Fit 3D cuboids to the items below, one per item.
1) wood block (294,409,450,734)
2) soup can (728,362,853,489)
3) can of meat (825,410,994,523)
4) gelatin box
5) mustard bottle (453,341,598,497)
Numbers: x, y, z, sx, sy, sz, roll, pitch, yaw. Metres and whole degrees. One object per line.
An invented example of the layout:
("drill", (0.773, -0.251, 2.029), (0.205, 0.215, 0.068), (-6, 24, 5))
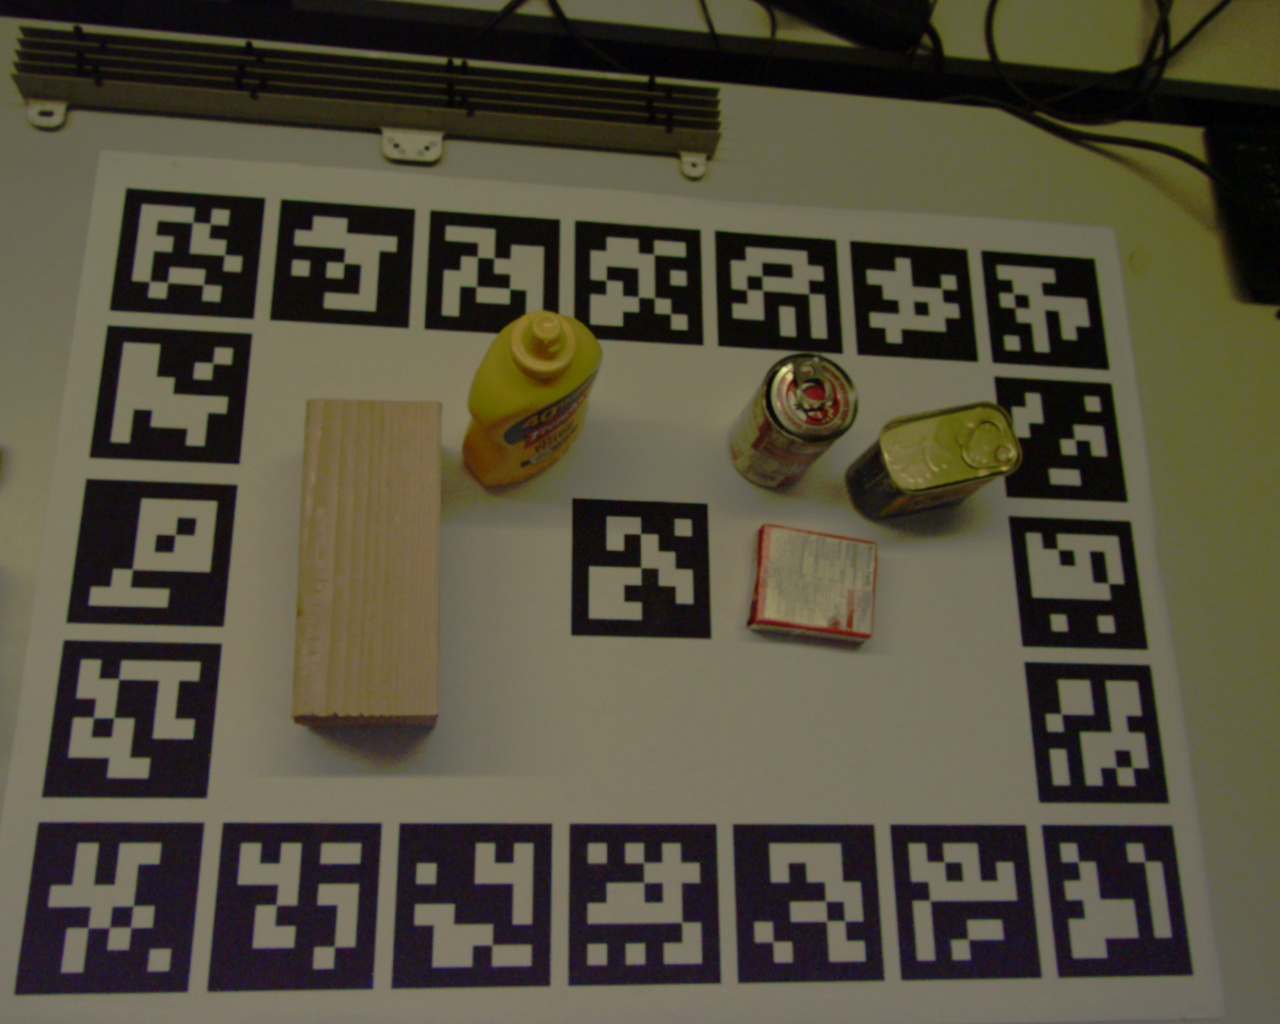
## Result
("wood block", (-0.180, 0.043, 0.787), (0.090, 0.090, 0.207), (3, 70, -10))
("soup can", (0.108, -0.061, 0.845), (0.067, 0.102, 0.068), (2, 76, -8))
("can of meat", (0.202, -0.032, 0.870), (0.101, 0.084, 0.058), (-12, 77, -15))
("gelatin box", (0.124, 0.062, 0.854), (0.089, 0.030, 0.073), (11, 75, -3))
("mustard bottle", (-0.078, -0.069, 0.786), (0.095, 0.192, 0.058), (-24, 79, -17))
